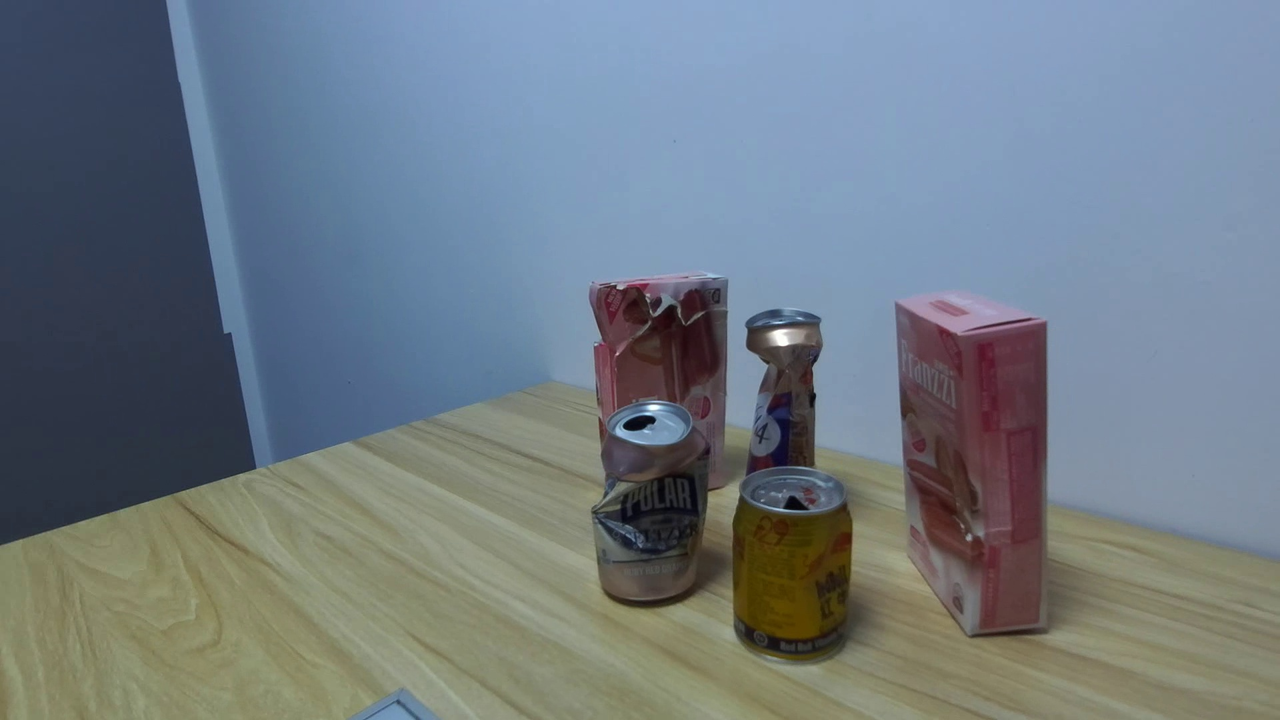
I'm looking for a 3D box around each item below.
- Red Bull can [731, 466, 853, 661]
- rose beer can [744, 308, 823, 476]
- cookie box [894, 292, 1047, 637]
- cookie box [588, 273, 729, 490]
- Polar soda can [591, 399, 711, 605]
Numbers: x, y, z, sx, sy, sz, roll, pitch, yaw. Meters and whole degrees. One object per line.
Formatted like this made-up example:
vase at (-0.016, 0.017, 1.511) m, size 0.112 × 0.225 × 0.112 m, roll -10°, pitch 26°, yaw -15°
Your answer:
Red Bull can at (0.087, 0.115, 0.406) m, size 0.069 × 0.092 × 0.069 m, roll -2°, pitch 15°, yaw 1°
rose beer can at (0.110, 0.045, 0.535) m, size 0.068 × 0.162 × 0.073 m, roll -14°, pitch 16°, yaw -35°
cookie box at (0.199, 0.061, 0.424) m, size 0.049 × 0.187 × 0.105 m, roll -8°, pitch 15°, yaw 3°
cookie box at (0.019, 0.024, 0.585) m, size 0.105 × 0.186 × 0.059 m, roll -9°, pitch 14°, yaw -18°
Polar soda can at (0.005, 0.094, 0.454) m, size 0.066 × 0.122 × 0.071 m, roll 12°, pitch 20°, yaw 31°
